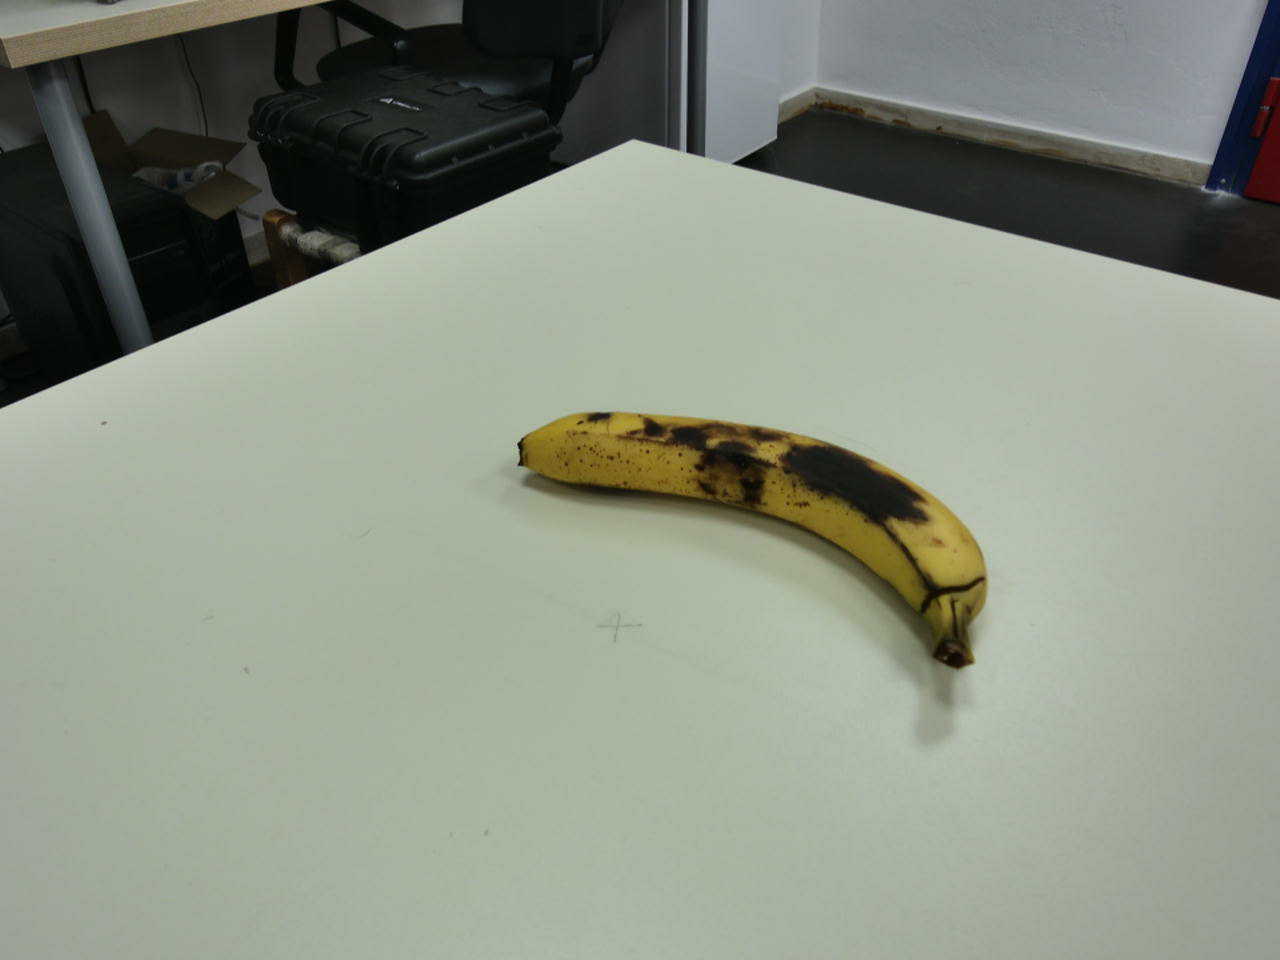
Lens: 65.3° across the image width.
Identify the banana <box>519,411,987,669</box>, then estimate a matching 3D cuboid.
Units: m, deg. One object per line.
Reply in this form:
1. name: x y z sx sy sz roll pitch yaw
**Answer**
1. banana: 0.052 0.006 0.428 0.222 0.037 0.084 26 44 32
